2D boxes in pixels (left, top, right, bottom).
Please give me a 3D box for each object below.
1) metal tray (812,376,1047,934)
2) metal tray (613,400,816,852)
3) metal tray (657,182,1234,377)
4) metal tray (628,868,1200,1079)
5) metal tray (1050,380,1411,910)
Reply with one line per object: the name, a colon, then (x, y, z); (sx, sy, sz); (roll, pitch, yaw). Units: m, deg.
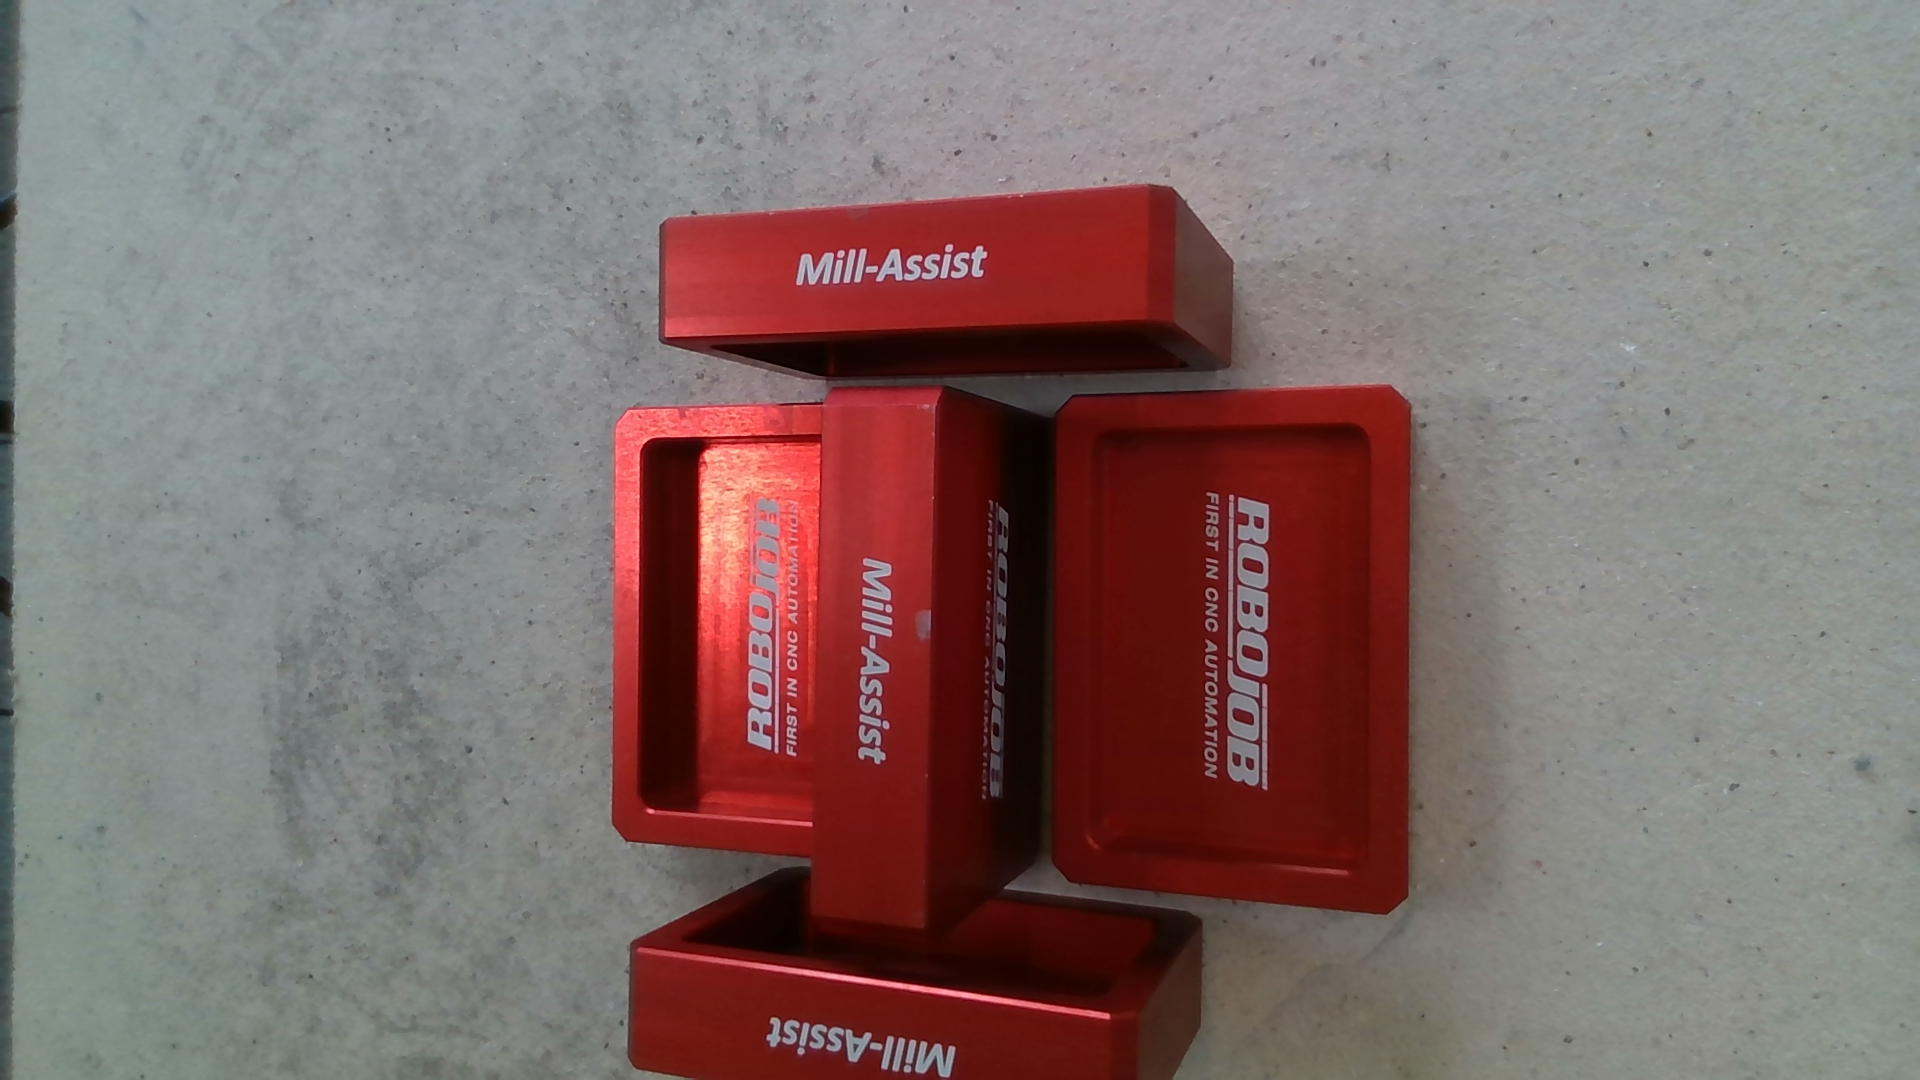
metal tray: (-0.004, 0.027, 0.362); (0.030, 0.090, 0.130); (1, 91, 21)
metal tray: (-0.057, 0.025, 0.414); (0.090, 0.030, 0.130); (1, 91, 19)
metal tray: (-0.001, -0.063, 0.359); (0.130, 0.090, 0.030); (1, 91, 21)
metal tray: (-0.009, 0.117, 0.363); (0.130, 0.090, 0.030); (1, 90, 20)
metal tray: (0.071, 0.026, 0.365); (0.090, 0.030, 0.130); (0, 91, 23)
